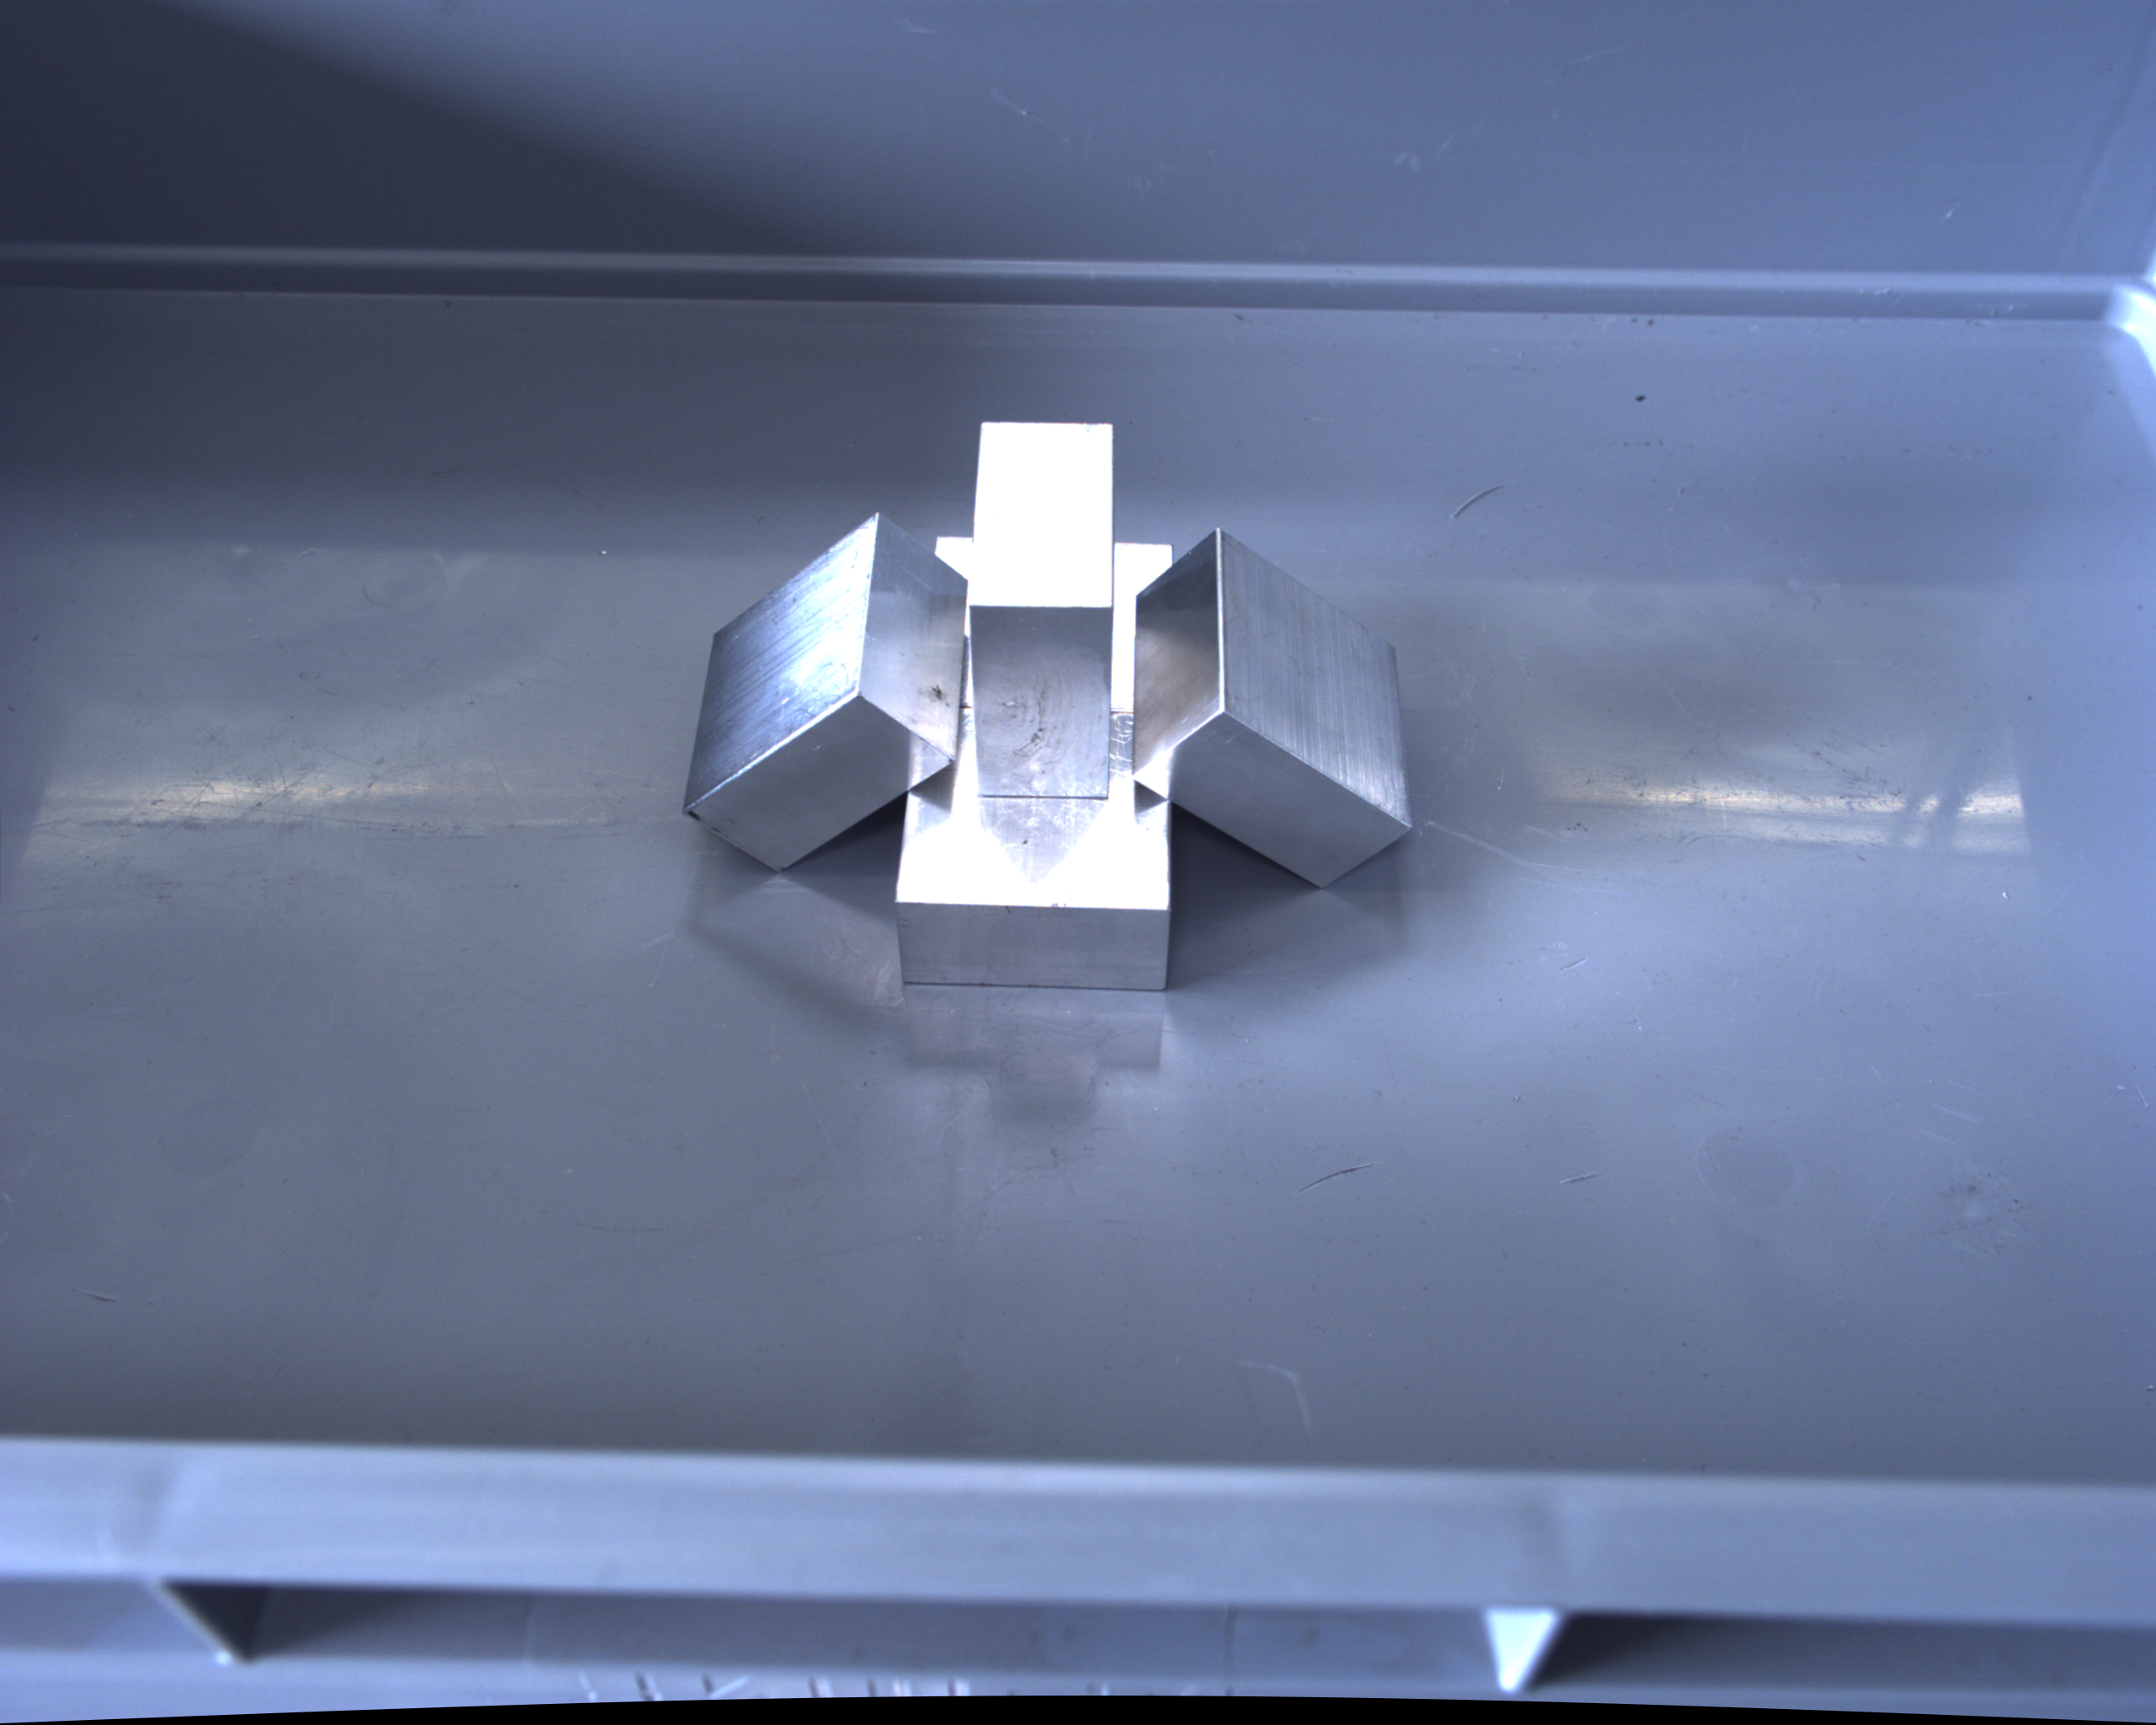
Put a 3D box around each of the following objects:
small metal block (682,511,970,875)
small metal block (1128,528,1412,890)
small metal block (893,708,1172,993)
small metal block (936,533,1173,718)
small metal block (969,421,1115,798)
[{"bbox_3d":[-0.049,-0.033,0.412,0.050,0.025,0.050,-30,41,32],"label":"small metal block"},{"bbox_3d":[0.038,-0.030,0.413,0.050,0.025,0.050,29,44,-28],"label":"small metal block"},{"bbox_3d":[-0.007,-0.003,0.405,0.050,0.025,0.050,2,50,2],"label":"small metal block"},{"bbox_3d":[-0.006,-0.042,0.437,0.050,0.025,0.050,2,50,1],"label":"small metal block"},{"bbox_3d":[-0.006,-0.047,0.393,0.025,0.050,0.050,1,50,0],"label":"small metal block"}]
